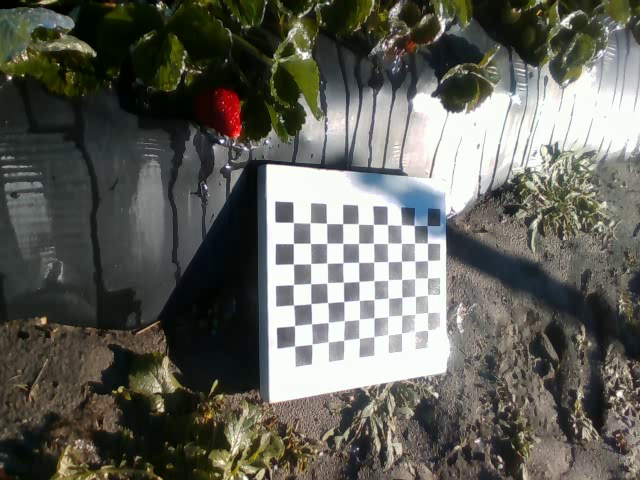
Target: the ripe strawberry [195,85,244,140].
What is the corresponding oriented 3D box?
[{"bbox_3d":[-0.081,-0.105,0.466,0.041,0.053,0.047,-8,-33,-34],"label":"ripe strawberry"}]
